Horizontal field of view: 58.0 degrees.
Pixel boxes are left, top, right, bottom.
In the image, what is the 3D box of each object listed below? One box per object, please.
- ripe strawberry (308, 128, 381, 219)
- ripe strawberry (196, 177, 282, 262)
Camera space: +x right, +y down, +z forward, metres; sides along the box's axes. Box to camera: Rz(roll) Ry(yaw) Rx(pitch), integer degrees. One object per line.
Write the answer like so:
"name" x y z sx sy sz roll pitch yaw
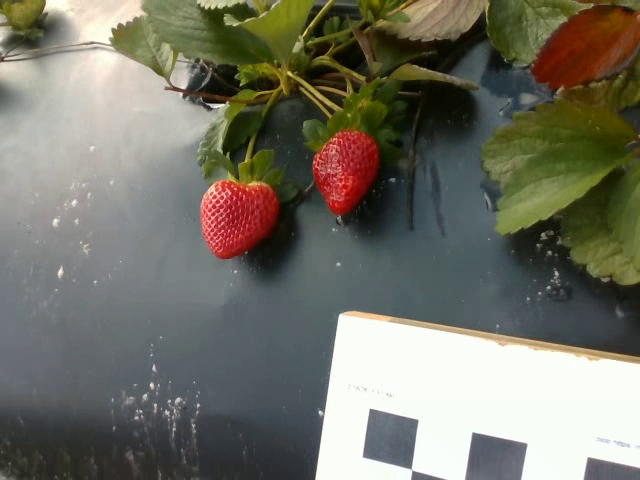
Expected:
"ripe strawberry" 0.011 -0.039 0.313 0.042 0.053 0.034 -11 -40 22
"ripe strawberry" -0.048 -0.012 0.326 0.050 0.061 0.045 -5 -41 23
